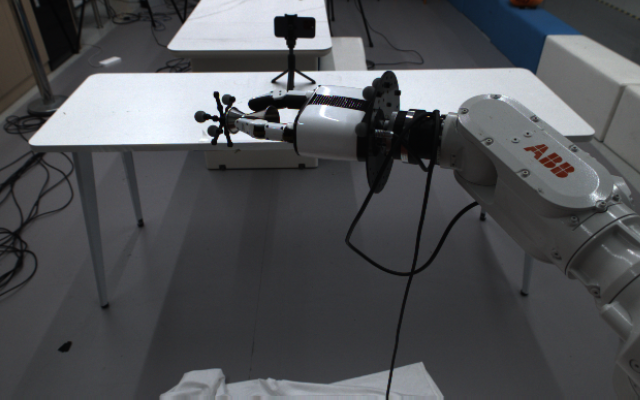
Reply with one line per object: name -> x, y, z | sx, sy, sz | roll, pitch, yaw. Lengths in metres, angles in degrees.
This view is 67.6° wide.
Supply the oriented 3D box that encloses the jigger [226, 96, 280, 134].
jigger -> -0.096, -0.123, 0.708 | 0.071, 0.043, 0.043 | 3, 33, 24
